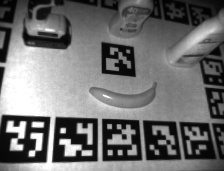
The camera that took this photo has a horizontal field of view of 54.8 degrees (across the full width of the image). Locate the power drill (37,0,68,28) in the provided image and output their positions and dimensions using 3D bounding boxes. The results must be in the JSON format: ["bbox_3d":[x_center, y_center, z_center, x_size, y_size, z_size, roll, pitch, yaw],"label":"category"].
[{"bbox_3d":[-0.111,-0.209,0.497,0.186,0.186,0.057,-1,71,-14],"label":"power drill"}]

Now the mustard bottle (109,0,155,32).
[{"bbox_3d":[0.064,-0.222,0.593,0.097,0.190,0.058,-1,71,-19],"label":"mustard bottle"}]

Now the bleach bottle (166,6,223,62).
[{"bbox_3d":[0.255,-0.151,0.596,0.103,0.249,0.068,14,67,-12],"label":"bleach bottle"}]

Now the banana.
[{"bbox_3d":[0.039,0.000,0.578,0.199,0.039,0.074,1,73,-15],"label":"banana"}]
